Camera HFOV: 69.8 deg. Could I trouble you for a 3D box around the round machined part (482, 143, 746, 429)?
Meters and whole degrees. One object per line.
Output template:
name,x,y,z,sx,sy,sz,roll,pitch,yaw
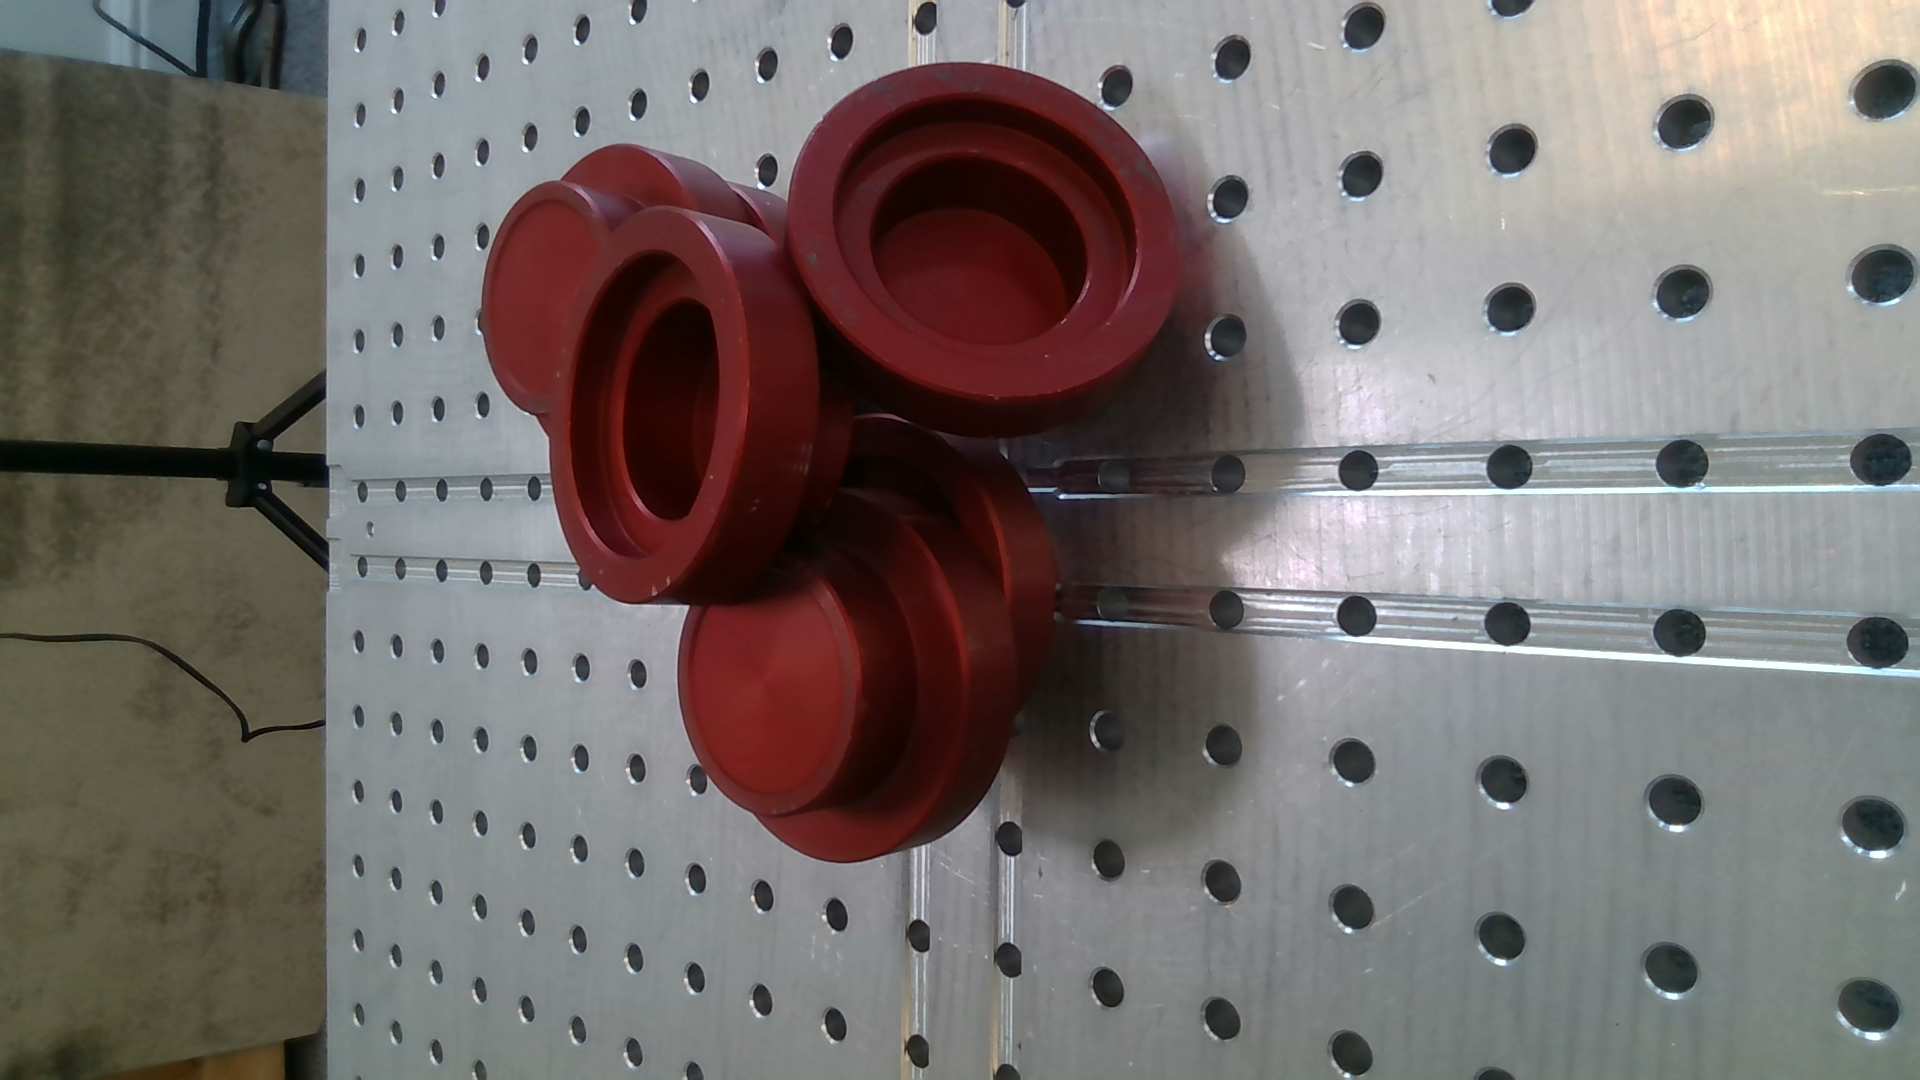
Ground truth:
round machined part,-0.108,-0.071,0.417,0.098,0.042,0.098,0,91,40

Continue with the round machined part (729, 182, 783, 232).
round machined part,-0.086,-0.063,0.427,0.098,0.042,0.098,0,91,40

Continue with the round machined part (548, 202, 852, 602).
round machined part,-0.064,-0.033,0.353,0.098,0.042,0.098,-5,84,48

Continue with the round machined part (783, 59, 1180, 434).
round machined part,0.003,-0.071,0.354,0.042,0.098,0.098,116,135,-65

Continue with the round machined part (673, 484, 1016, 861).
round machined part,-0.037,0.034,0.357,0.098,0.042,0.098,0,91,39

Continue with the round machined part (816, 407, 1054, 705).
round machined part,-0.026,0.013,0.377,0.098,0.042,0.098,0,91,40
